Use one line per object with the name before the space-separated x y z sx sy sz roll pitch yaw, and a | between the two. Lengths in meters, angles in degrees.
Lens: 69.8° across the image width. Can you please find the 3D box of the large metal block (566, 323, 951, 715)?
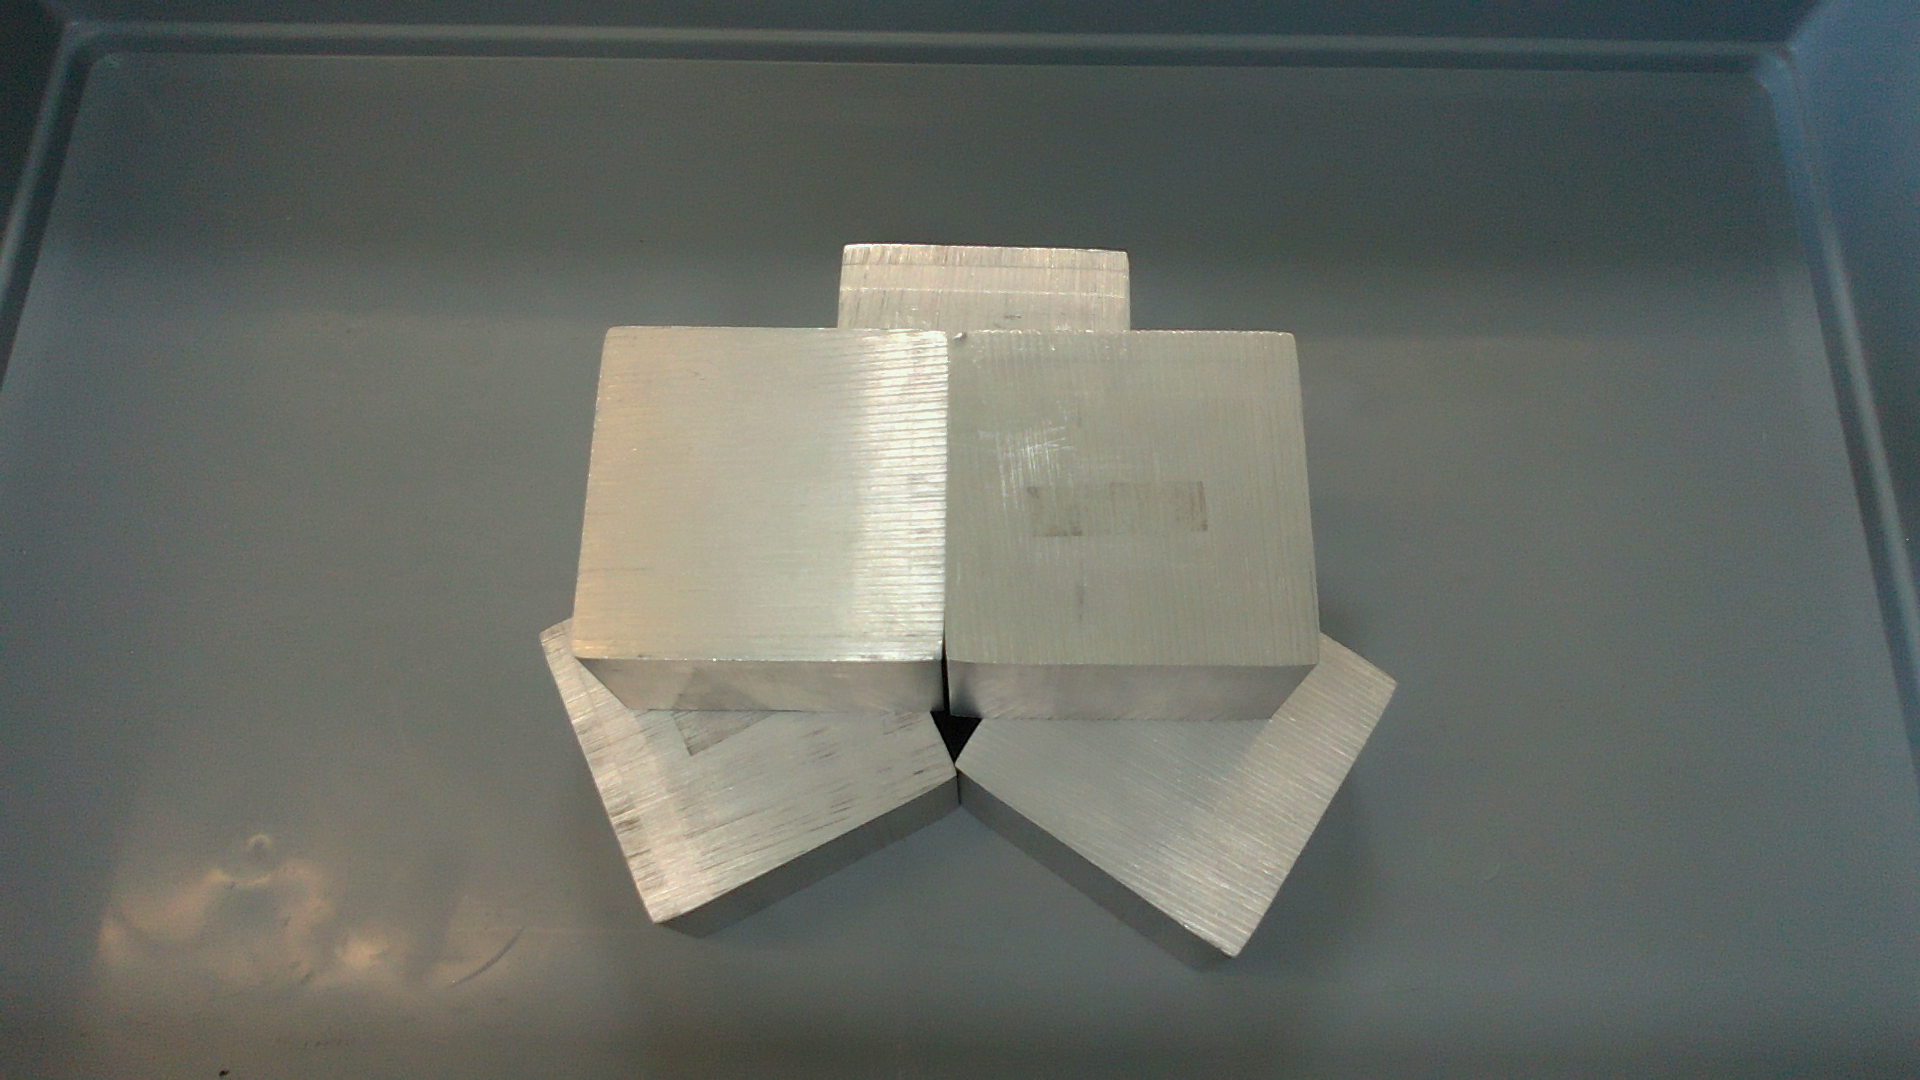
large metal block | -0.043 -0.003 0.328 0.080 0.050 0.080 1 70 0

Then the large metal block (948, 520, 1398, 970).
large metal block | 0.053 0.053 0.359 0.080 0.050 0.080 32 73 12

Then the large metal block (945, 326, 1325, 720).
large metal block | 0.038 -0.003 0.326 0.080 0.050 0.080 1 70 0

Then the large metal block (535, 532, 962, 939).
large metal block | -0.053 0.049 0.362 0.080 0.050 0.080 -25 72 -9

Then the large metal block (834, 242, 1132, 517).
large metal block | 0.006 -0.036 0.393 0.080 0.050 0.080 1 70 0
